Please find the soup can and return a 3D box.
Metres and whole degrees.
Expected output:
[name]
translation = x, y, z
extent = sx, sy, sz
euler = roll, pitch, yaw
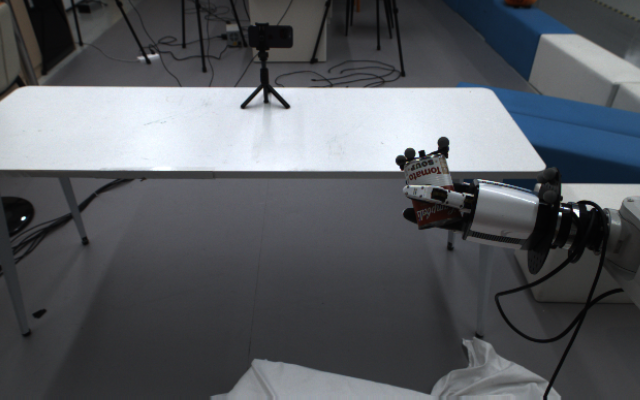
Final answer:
[soup can]
translation = 0.173, -0.012, 0.743
extent = 0.067, 0.067, 0.101
euler = -10, 80, -16
